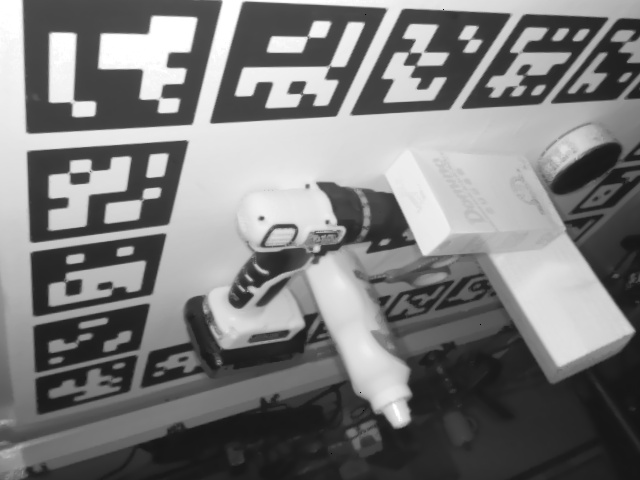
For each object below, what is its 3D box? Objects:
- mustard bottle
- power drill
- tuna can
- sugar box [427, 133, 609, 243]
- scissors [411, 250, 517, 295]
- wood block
[{"bbox_3d":[0.086,0.082,0.696,0.058,0.191,0.096,-31,147,5],"label":"mustard bottle"},{"bbox_3d":[0.037,0.010,0.669,0.187,0.057,0.184,3,130,-39],"label":"power drill"},{"bbox_3d":[0.334,-0.090,0.759,0.086,0.034,0.085,-19,146,-12],"label":"tuna can"},{"bbox_3d":[0.195,-0.048,0.671,0.179,0.093,0.044,4,140,-36],"label":"sugar box"},{"bbox_3d":[0.161,0.047,0.848,0.206,0.016,0.086,-6,146,-30],"label":"scissors"},{"bbox_3d":[0.293,0.039,0.774,0.091,0.206,0.089,-24,147,-4],"label":"wood block"}]
